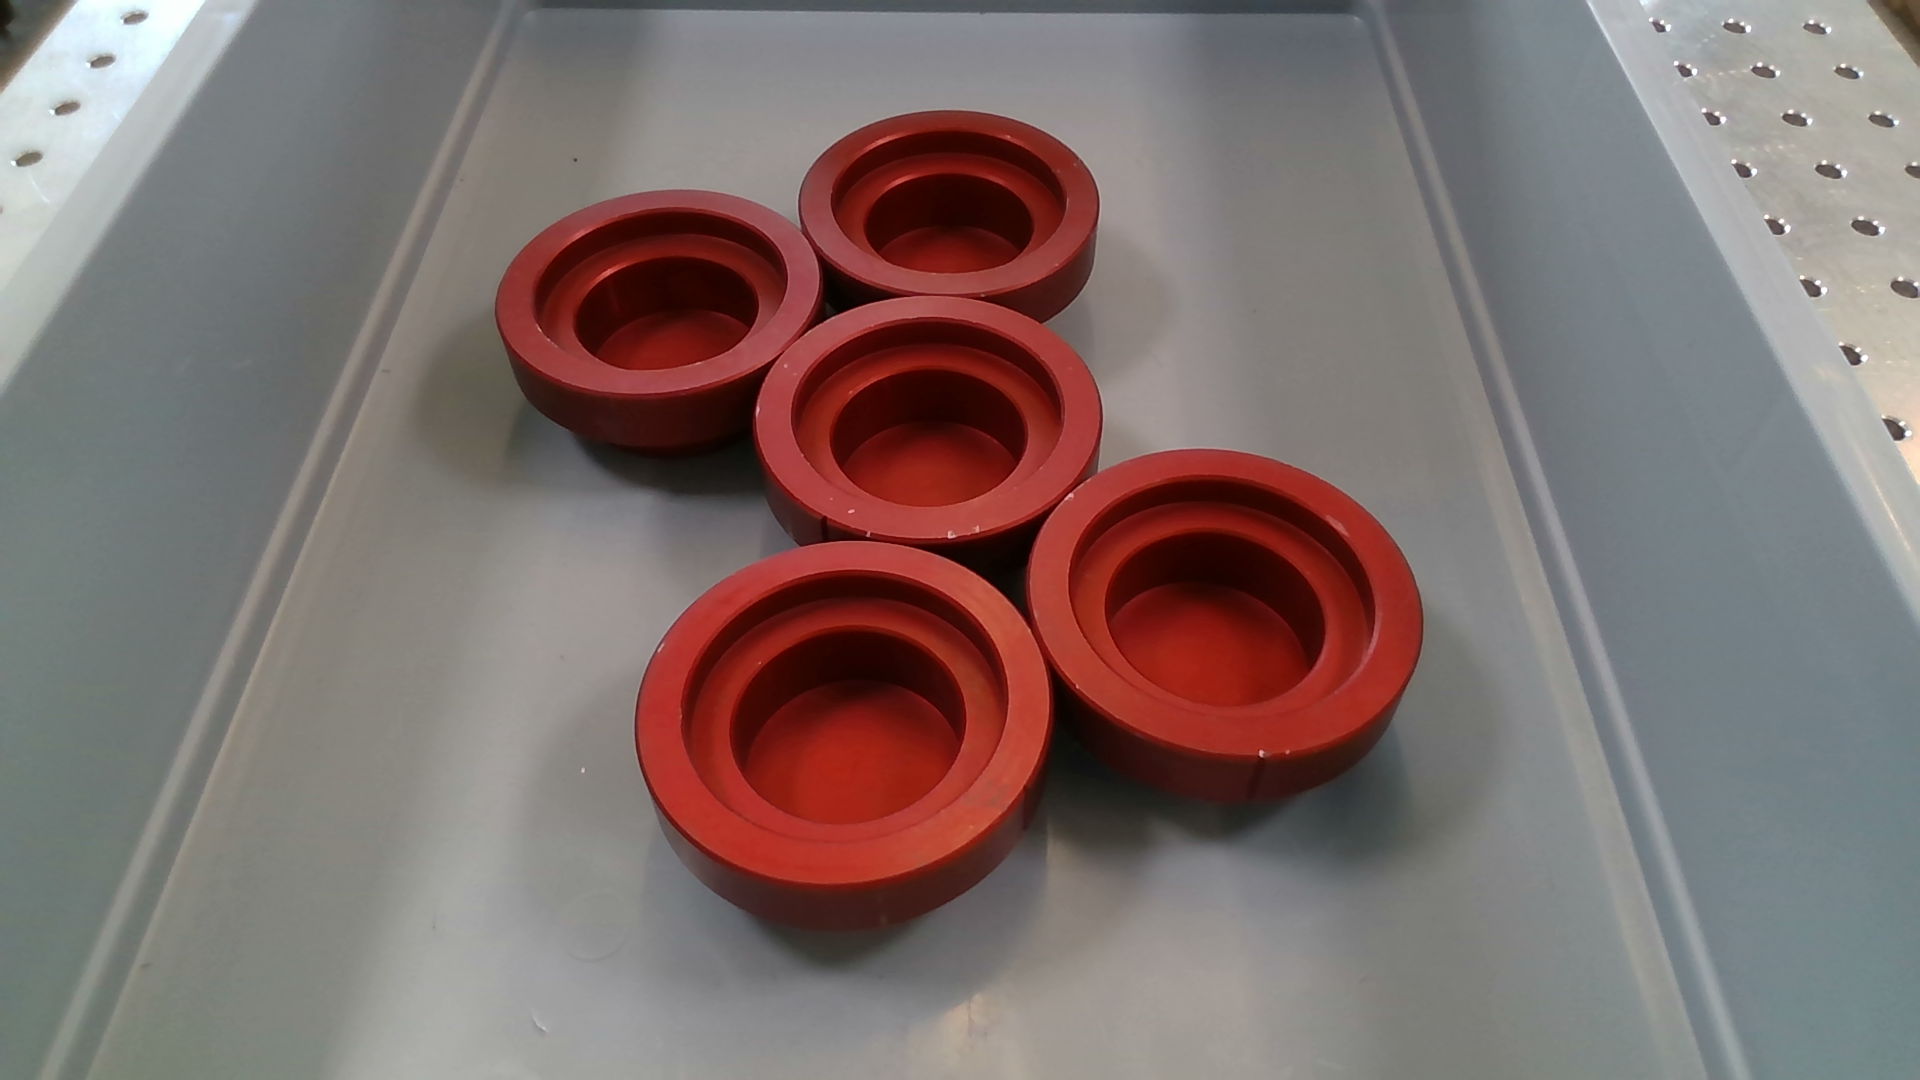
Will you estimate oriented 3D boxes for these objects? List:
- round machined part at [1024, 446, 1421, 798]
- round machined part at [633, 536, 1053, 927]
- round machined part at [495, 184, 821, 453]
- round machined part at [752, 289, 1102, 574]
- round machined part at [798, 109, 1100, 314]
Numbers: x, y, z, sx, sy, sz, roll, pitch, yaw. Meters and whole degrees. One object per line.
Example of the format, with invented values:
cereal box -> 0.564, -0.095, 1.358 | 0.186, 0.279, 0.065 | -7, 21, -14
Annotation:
round machined part -> 0.065, 0.025, 0.360 | 0.098, 0.042, 0.098 | 0, 50, 0
round machined part -> -0.027, 0.049, 0.339 | 0.098, 0.042, 0.098 | 0, 50, 0
round machined part -> -0.091, -0.066, 0.434 | 0.098, 0.042, 0.098 | 0, 50, 0
round machined part -> -0.009, -0.025, 0.400 | 0.098, 0.042, 0.098 | 0, 50, 0
round machined part -> -0.004, -0.099, 0.463 | 0.098, 0.042, 0.098 | 0, 50, 0
